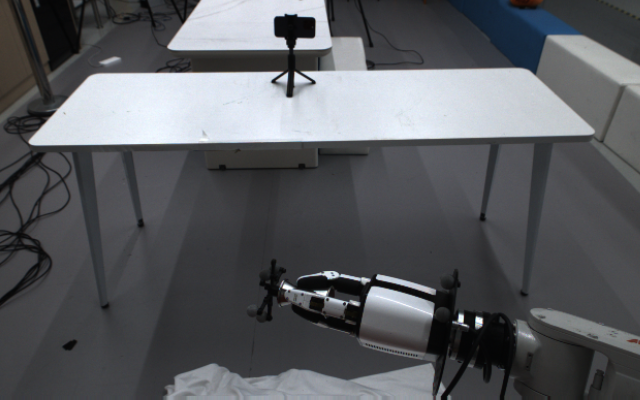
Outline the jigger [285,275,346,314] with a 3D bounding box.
[{"bbox_3d":[-0.012,0.127,0.652,0.071,0.043,0.043,7,35,16],"label":"jigger"}]
